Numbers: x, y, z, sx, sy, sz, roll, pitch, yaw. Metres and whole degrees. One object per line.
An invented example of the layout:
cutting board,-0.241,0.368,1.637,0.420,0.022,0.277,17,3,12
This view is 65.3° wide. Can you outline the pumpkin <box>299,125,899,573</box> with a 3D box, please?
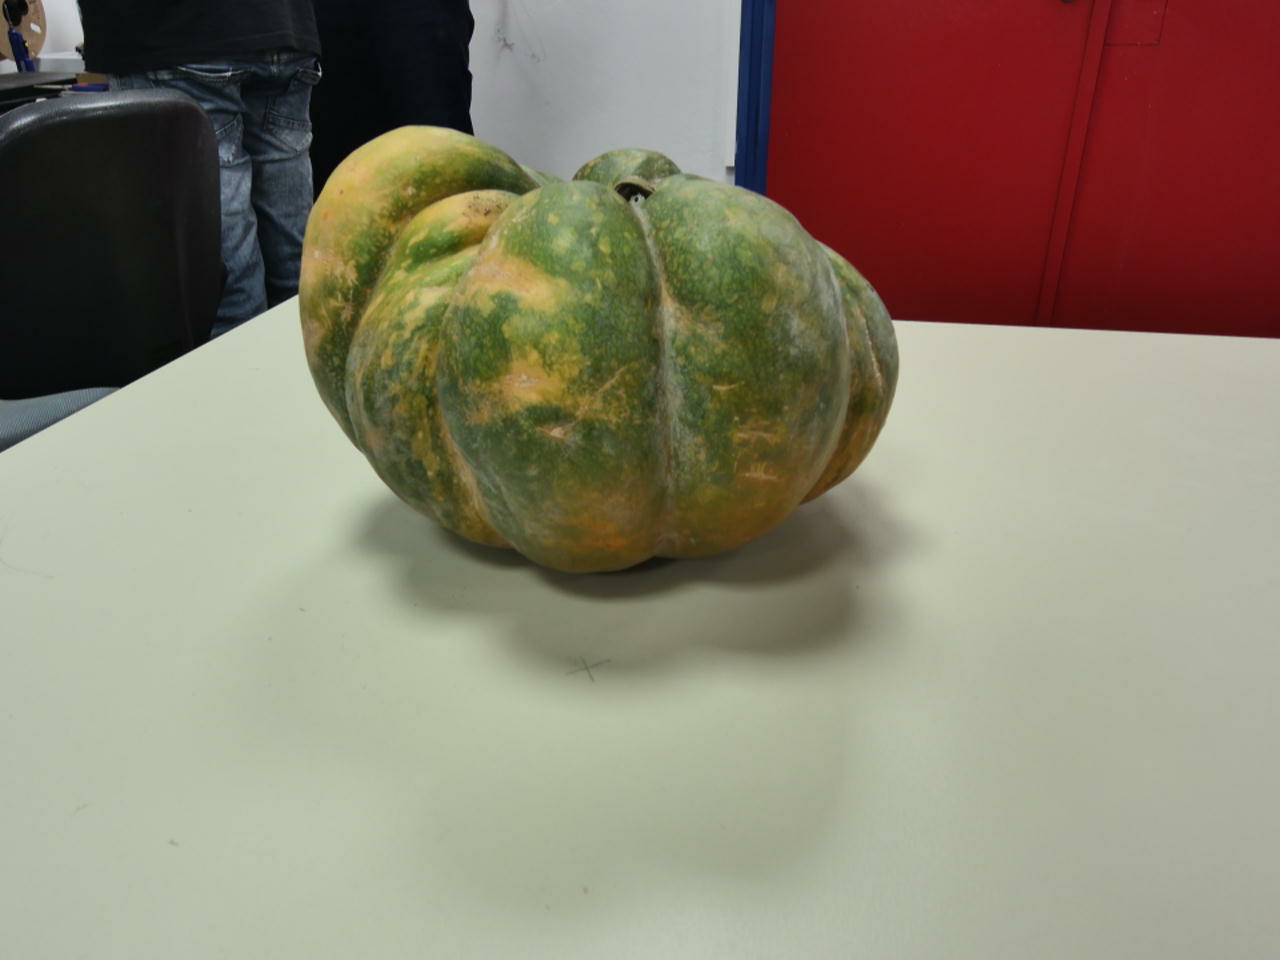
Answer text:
pumpkin,-0.018,-0.066,0.445,0.237,0.173,0.270,-19,31,-36
